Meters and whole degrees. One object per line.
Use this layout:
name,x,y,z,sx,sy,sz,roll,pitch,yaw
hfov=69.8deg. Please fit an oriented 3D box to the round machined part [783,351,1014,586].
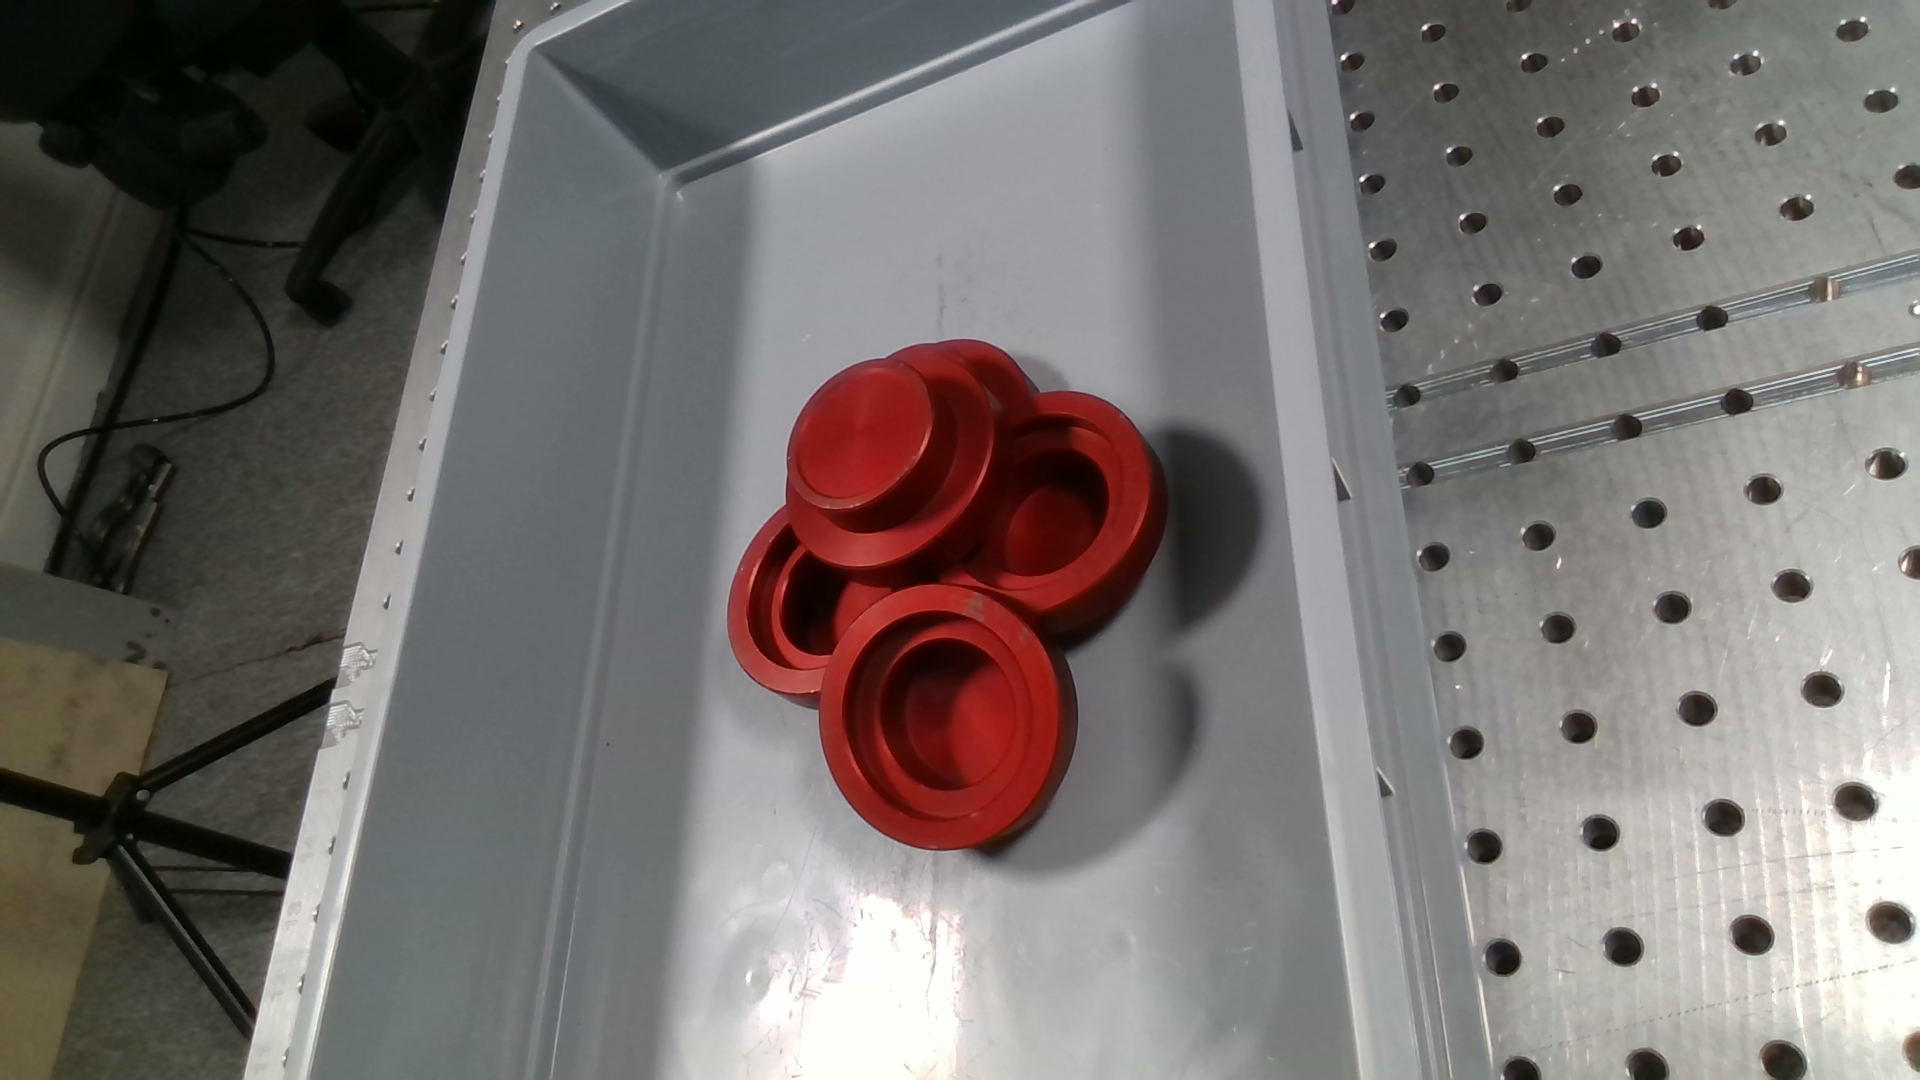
round machined part,-0.031,-0.034,0.554,0.098,0.042,0.098,-14,59,25

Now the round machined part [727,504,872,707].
round machined part,-0.048,0.026,0.589,0.098,0.042,0.098,-14,59,25

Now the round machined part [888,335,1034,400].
round machined part,-0.015,-0.048,0.605,0.098,0.042,0.098,-14,59,25

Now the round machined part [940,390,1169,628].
round machined part,0.038,-0.008,0.554,0.098,0.042,0.098,-14,59,25

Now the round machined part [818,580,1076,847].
round machined part,-0.001,0.065,0.525,0.098,0.042,0.098,-3,84,24
